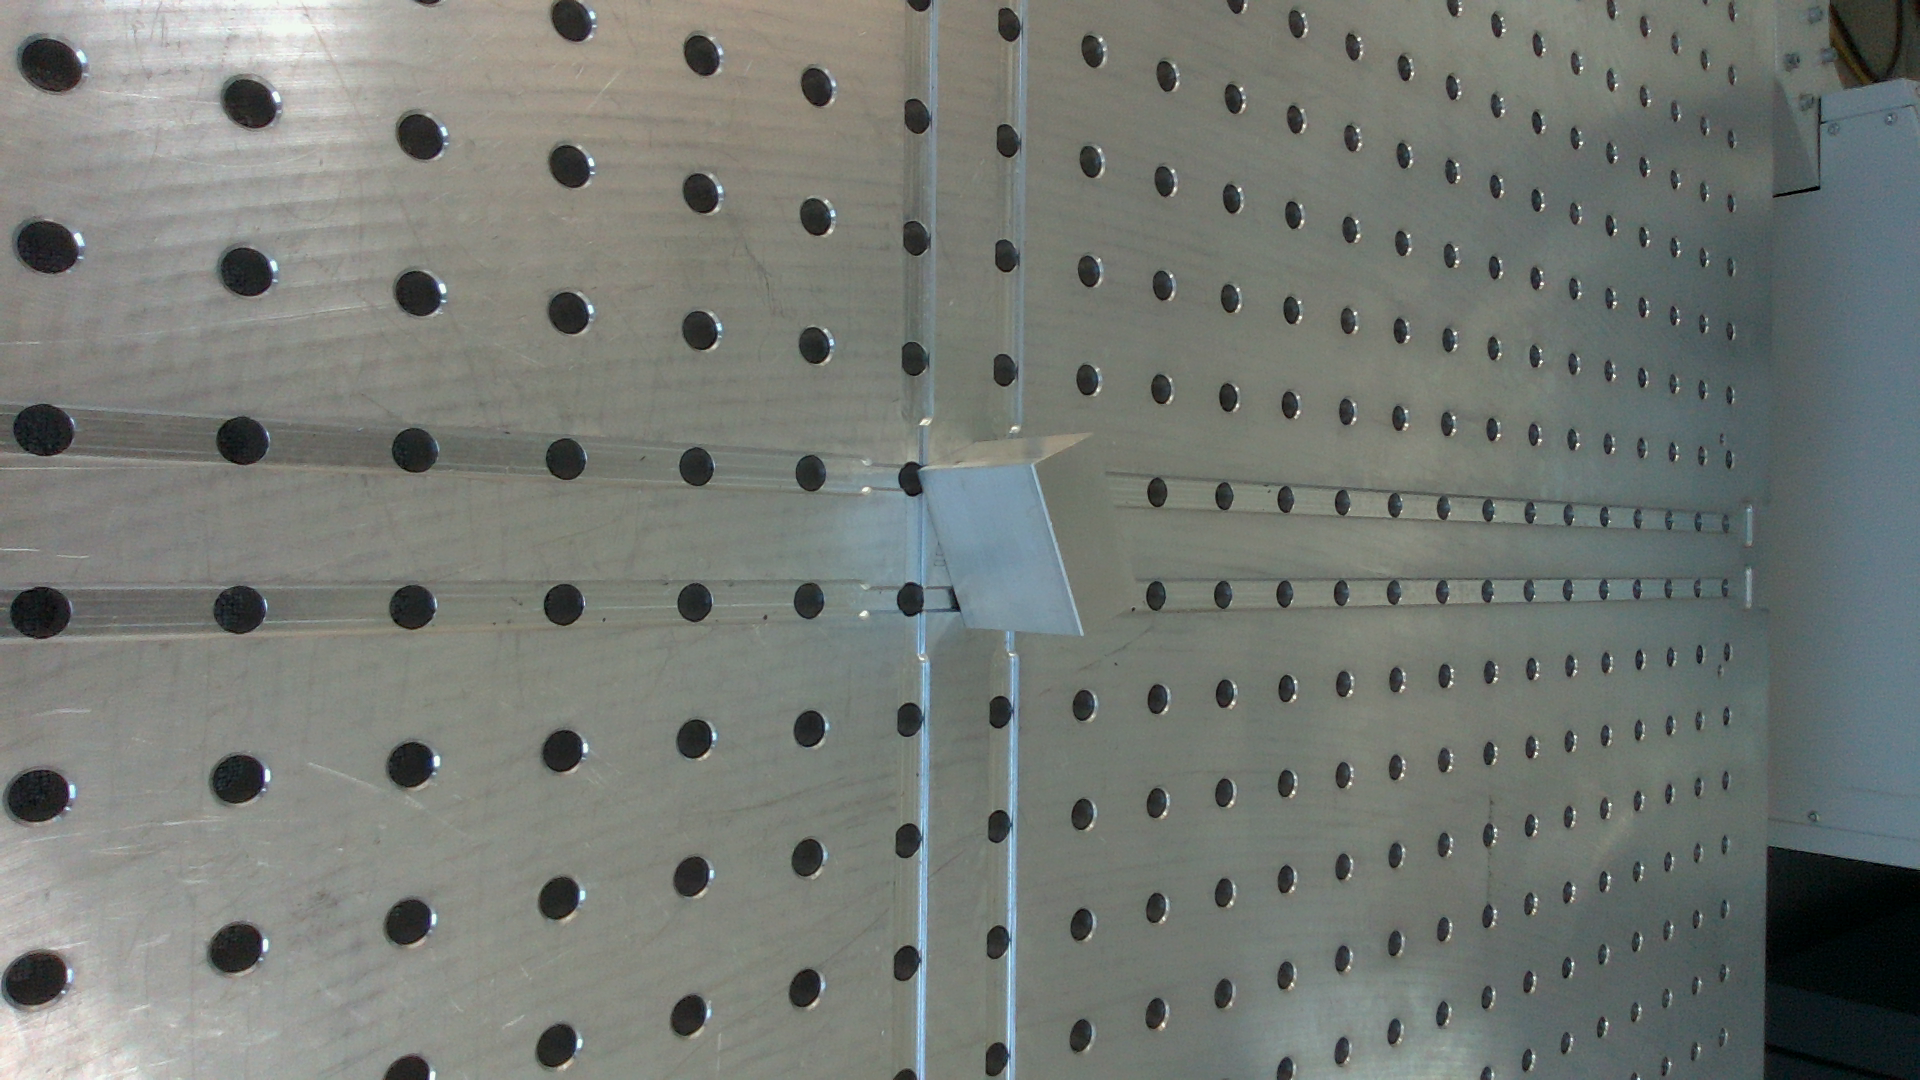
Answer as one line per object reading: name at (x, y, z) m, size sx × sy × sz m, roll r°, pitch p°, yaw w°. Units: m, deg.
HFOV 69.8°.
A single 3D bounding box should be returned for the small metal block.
small metal block at (0.019, -0.002, 0.391) m, size 0.025 × 0.050 × 0.050 m, roll -28°, pitch 108°, yaw -36°
